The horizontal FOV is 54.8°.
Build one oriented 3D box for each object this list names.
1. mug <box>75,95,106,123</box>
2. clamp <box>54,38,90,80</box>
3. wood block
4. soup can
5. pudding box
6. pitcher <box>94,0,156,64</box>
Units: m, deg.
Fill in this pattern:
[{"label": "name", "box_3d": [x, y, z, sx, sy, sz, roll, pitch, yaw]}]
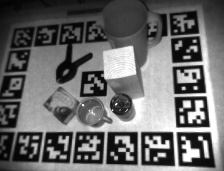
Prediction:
[{"label": "mug", "box_3d": [-0.068, 0.083, 0.718, 0.116, 0.082, 0.093, 33, 78, 22]}, {"label": "clamp", "box_3d": [-0.173, -0.096, 0.837, 0.121, 0.037, 0.165, 27, 79, 12]}, {"label": "wood block", "box_3d": [0.028, -0.048, 0.674, 0.089, 0.208, 0.090, -5, 69, 8]}, {"label": "soup can", "box_3d": [0.021, 0.055, 0.696, 0.067, 0.103, 0.068, -4, 72, 12]}, {"label": "pudding box", "box_3d": [-0.199, 0.055, 0.783, 0.112, 0.039, 0.090, 35, 84, 22]}, {"label": "pitcher", "box_3d": [0.051, -0.168, 0.696, 0.187, 0.245, 0.133, -5, 67, 15]}]
